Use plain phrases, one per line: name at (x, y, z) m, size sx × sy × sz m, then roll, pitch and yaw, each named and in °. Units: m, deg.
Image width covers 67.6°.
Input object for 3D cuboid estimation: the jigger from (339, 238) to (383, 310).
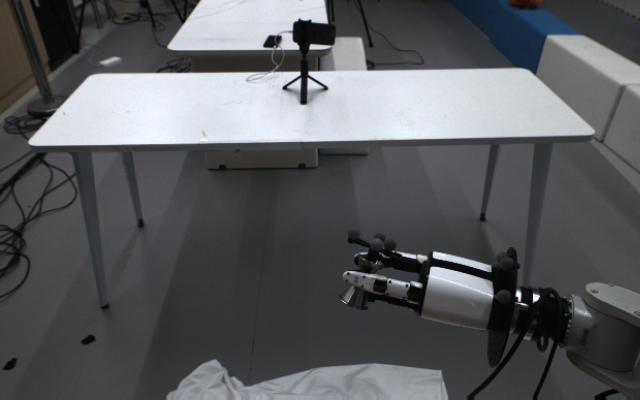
jigger at (0.058, 0.113, 0.677) m, size 0.043 × 0.071 × 0.043 m, roll 22°, pitch 6°, yaw -2°
